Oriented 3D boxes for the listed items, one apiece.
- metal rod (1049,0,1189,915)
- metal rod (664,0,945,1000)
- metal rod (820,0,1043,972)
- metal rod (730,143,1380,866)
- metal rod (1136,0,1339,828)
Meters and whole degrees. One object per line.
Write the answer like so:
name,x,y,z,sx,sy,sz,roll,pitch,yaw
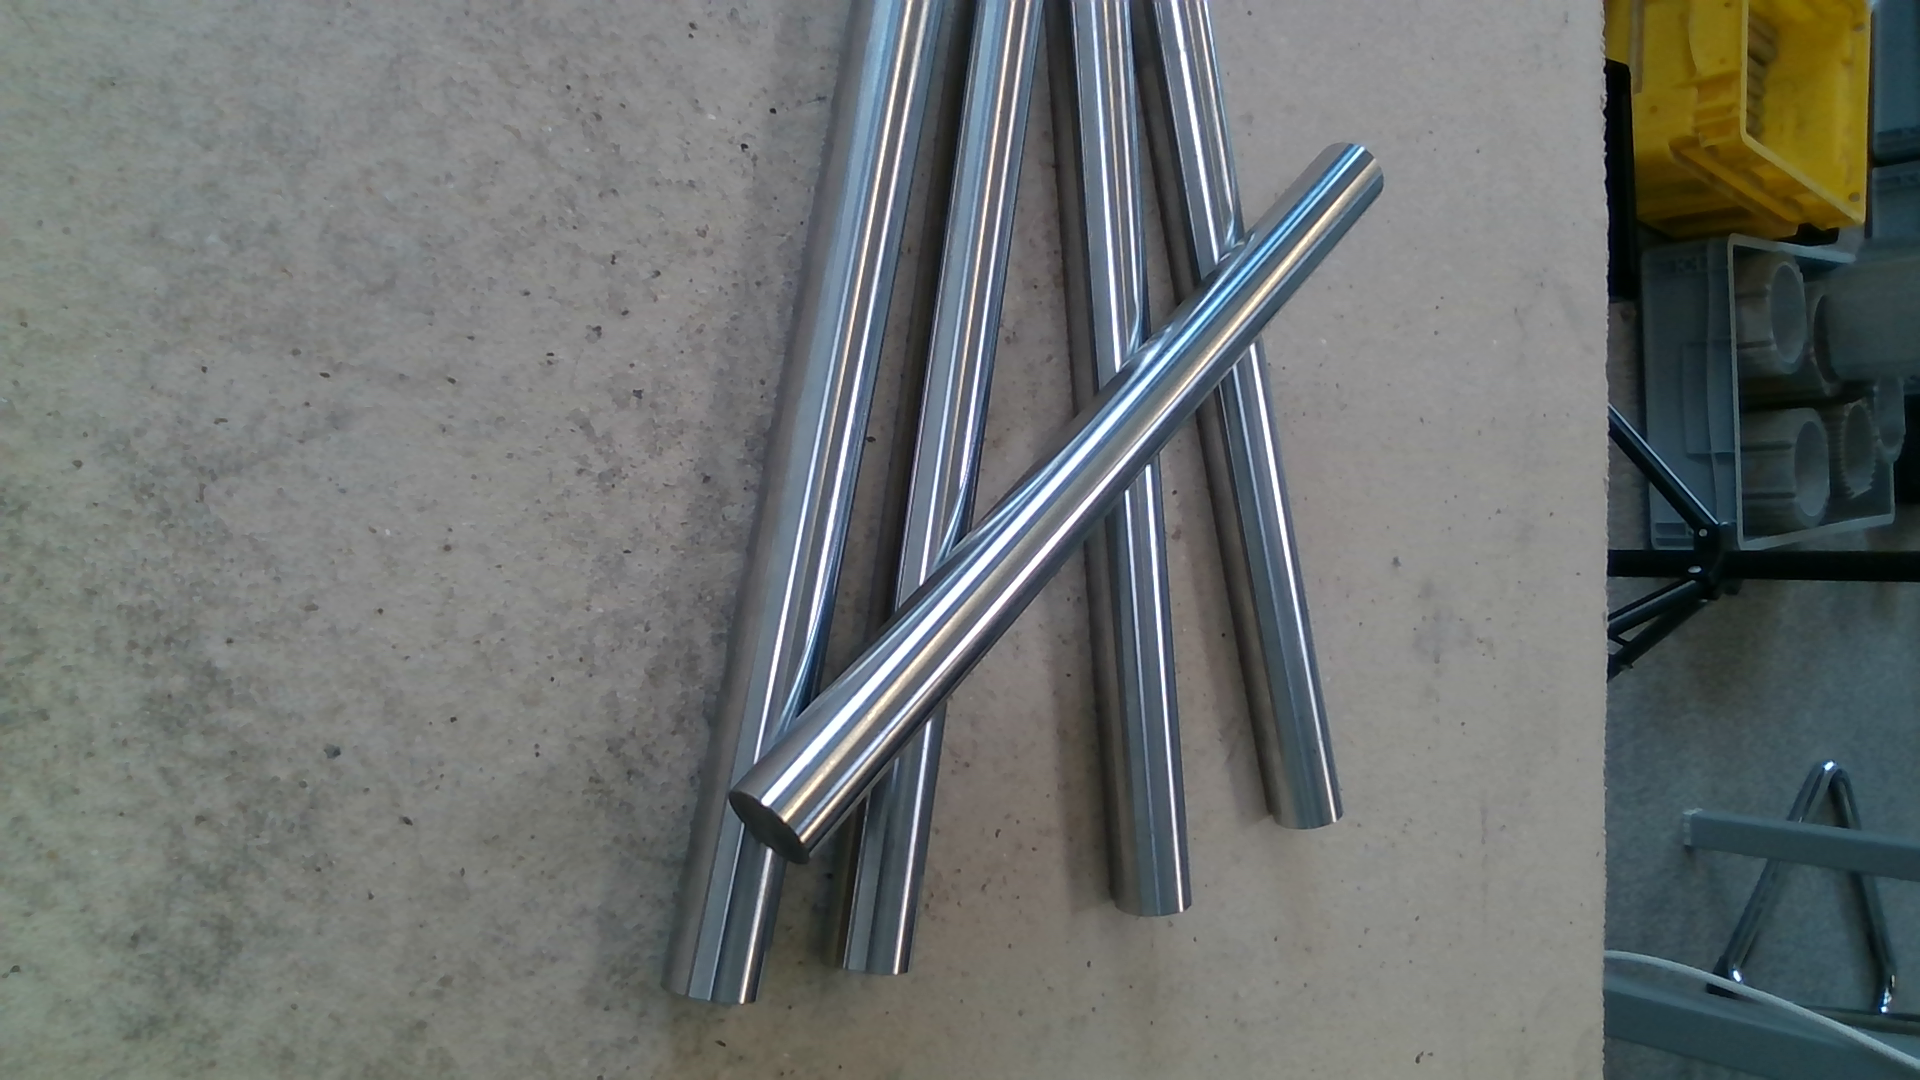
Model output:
metal rod,0.050,-0.032,0.434,0.025,0.025,0.300,-8,96,-40
metal rod,-0.036,-0.036,0.361,0.025,0.025,0.300,16,80,-39
metal rod,-0.005,-0.034,0.387,0.025,0.025,0.300,13,82,-39
metal rod,0.044,-0.028,0.395,0.299,0.025,0.025,-47,118,-30
metal rod,0.094,-0.046,0.472,0.025,0.025,0.300,-20,103,-38
